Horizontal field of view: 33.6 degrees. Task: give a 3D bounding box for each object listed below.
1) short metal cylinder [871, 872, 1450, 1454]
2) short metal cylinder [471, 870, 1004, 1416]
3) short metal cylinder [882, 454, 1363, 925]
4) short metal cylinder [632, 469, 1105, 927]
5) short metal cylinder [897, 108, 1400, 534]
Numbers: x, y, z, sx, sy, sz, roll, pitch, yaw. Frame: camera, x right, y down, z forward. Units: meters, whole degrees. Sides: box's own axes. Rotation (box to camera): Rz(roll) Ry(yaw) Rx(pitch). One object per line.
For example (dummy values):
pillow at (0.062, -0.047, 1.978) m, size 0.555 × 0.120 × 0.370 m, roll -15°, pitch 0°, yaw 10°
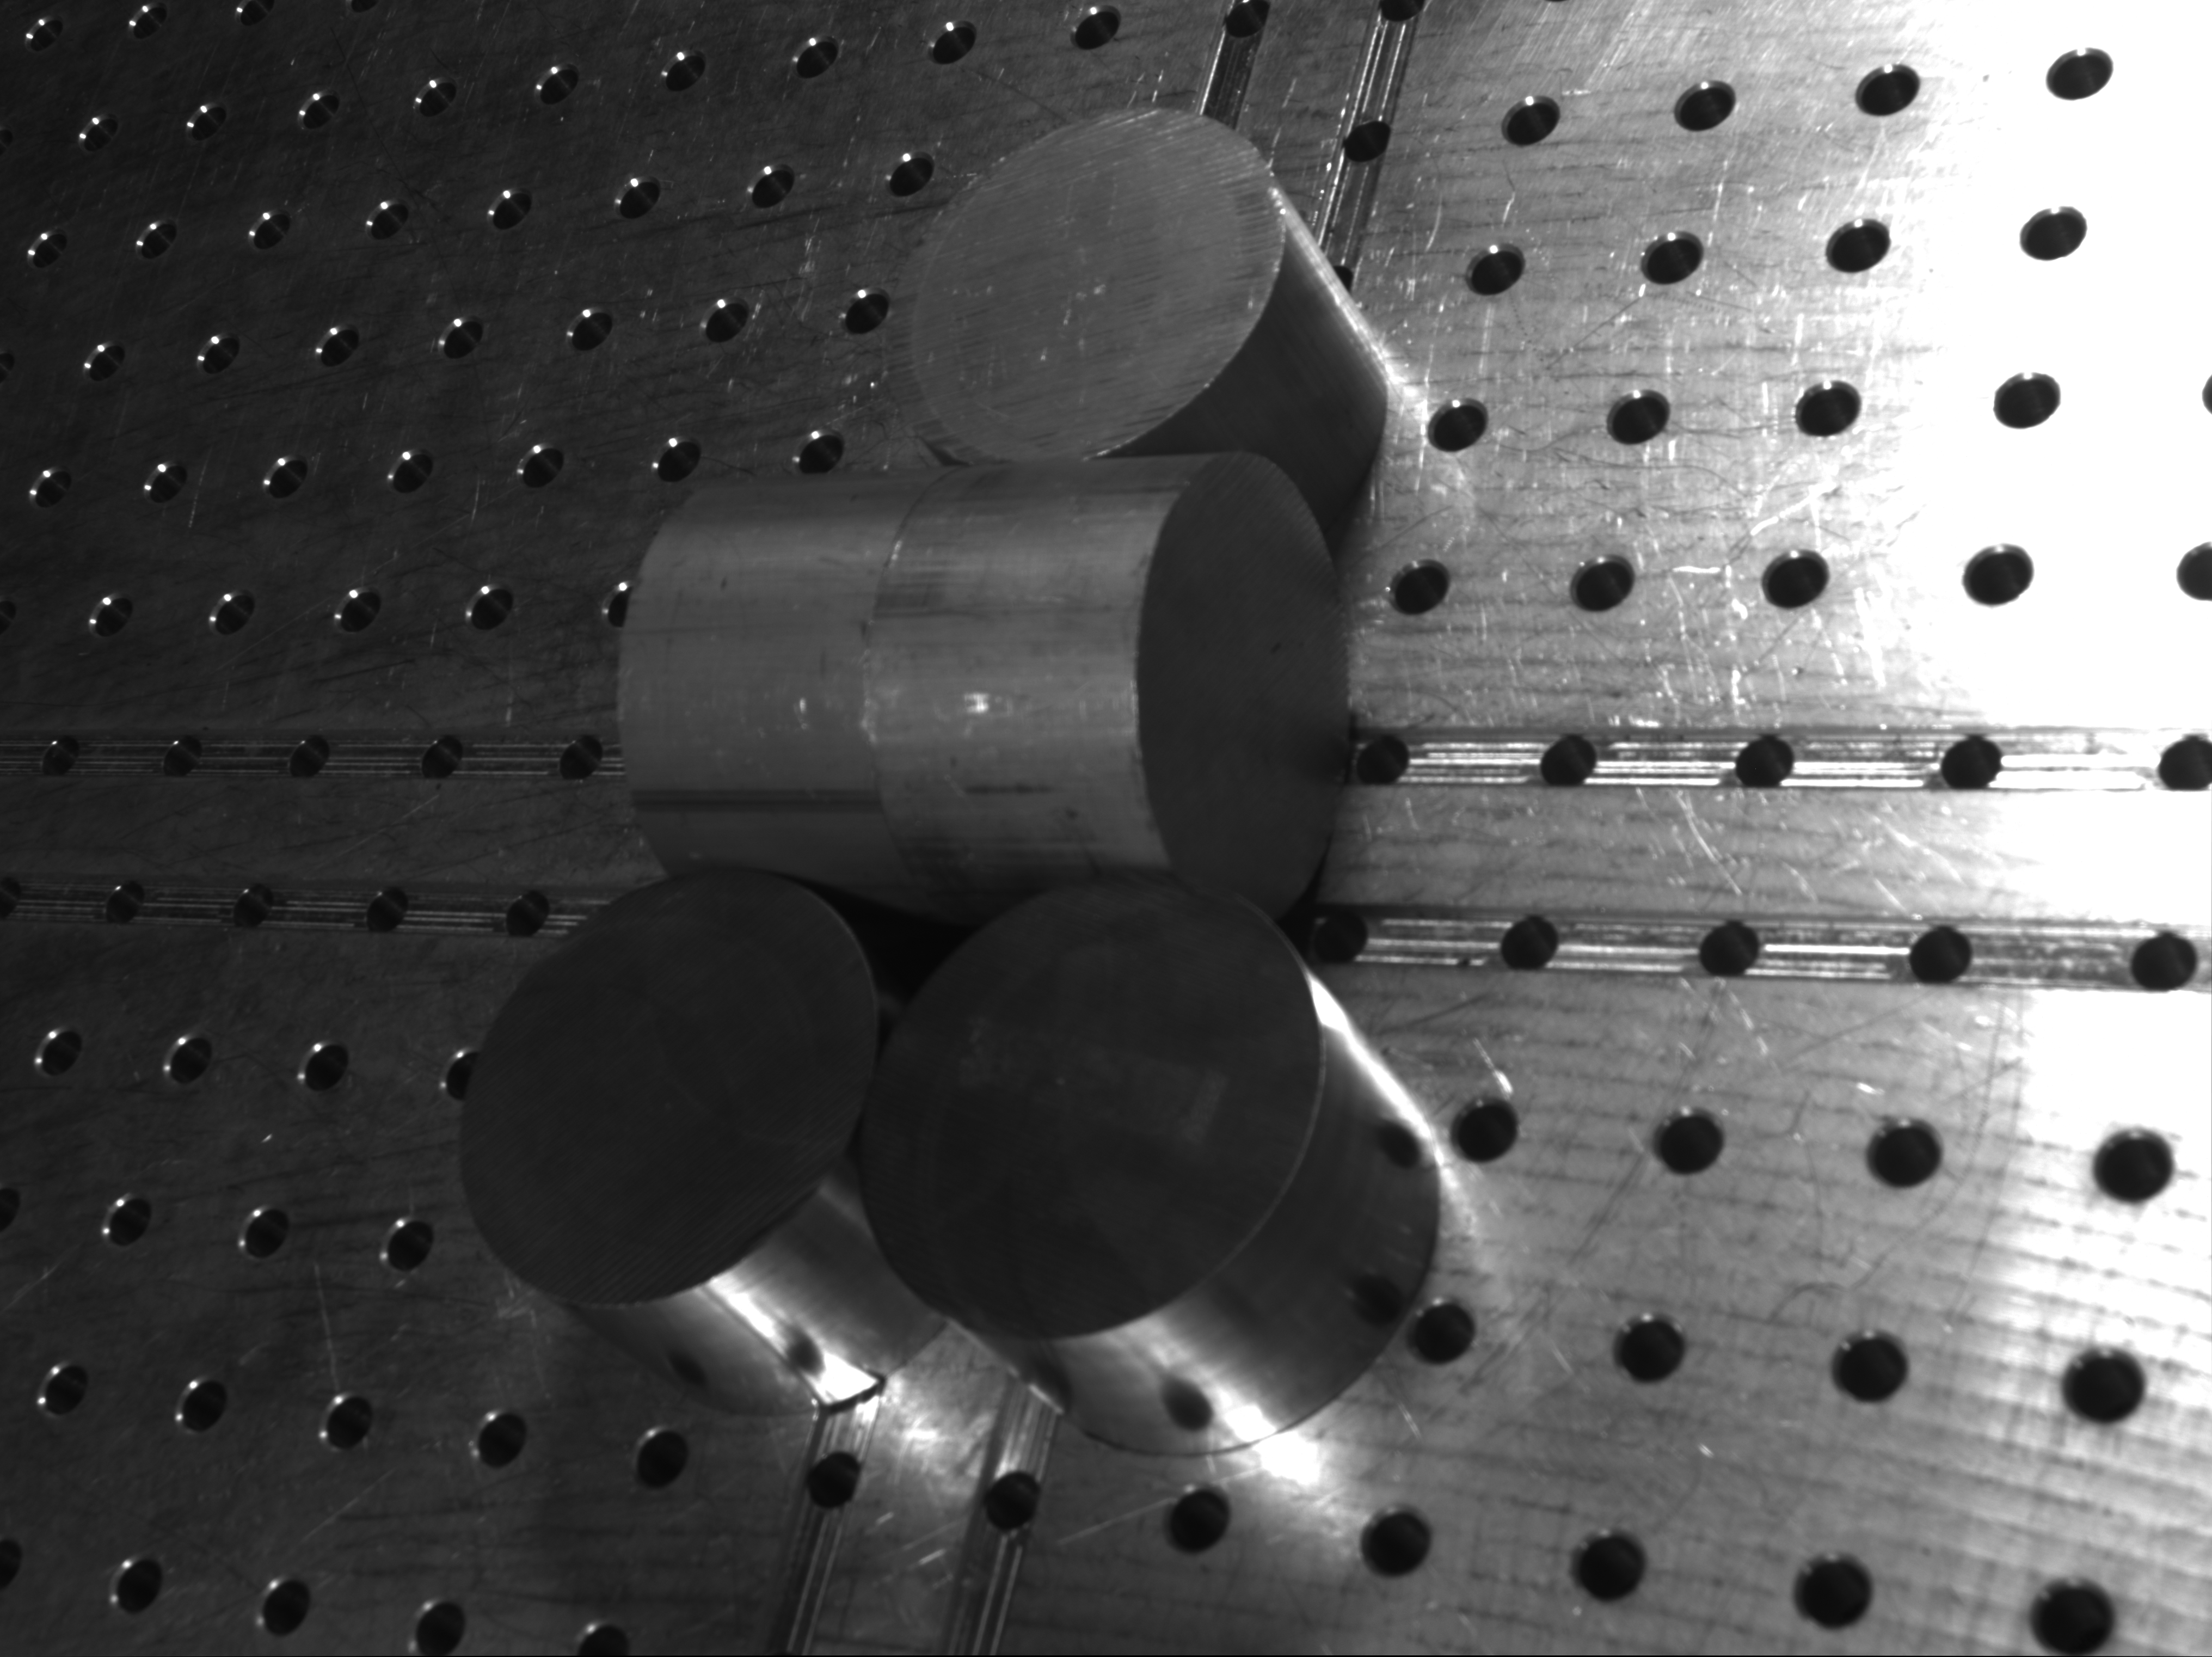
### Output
short metal cylinder at (0.009, 0.054, 0.591) m, size 0.080 × 0.050 × 0.080 m, roll -13°, pitch 56°, yaw 21°
short metal cylinder at (-0.061, 0.054, 0.630) m, size 0.080 × 0.050 × 0.080 m, roll -13°, pitch 56°, yaw 21°
short metal cylinder at (0.004, -0.023, 0.624) m, size 0.050 × 0.080 × 0.080 m, roll 0°, pitch 62°, yaw 29°
short metal cylinder at (-0.040, -0.023, 0.648) m, size 0.050 × 0.080 × 0.080 m, roll 0°, pitch 62°, yaw 29°
short metal cylinder at (0.008, -0.086, 0.680) m, size 0.080 × 0.050 × 0.080 m, roll -13°, pitch 56°, yaw 21°
